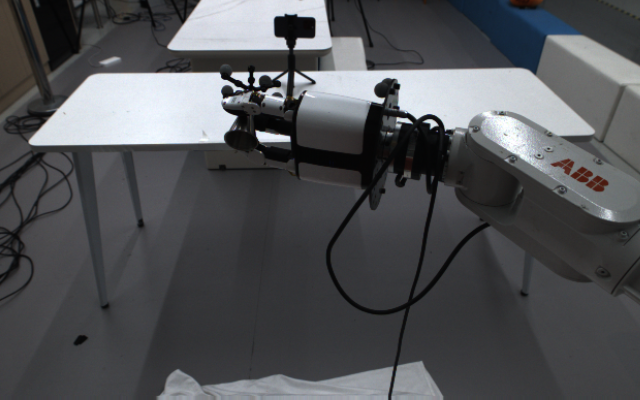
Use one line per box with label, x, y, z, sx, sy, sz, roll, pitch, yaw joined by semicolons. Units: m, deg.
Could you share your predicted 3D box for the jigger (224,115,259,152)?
jigger;-0.098;-0.106;0.627;0.043;0.043;0.071;4;60;2
